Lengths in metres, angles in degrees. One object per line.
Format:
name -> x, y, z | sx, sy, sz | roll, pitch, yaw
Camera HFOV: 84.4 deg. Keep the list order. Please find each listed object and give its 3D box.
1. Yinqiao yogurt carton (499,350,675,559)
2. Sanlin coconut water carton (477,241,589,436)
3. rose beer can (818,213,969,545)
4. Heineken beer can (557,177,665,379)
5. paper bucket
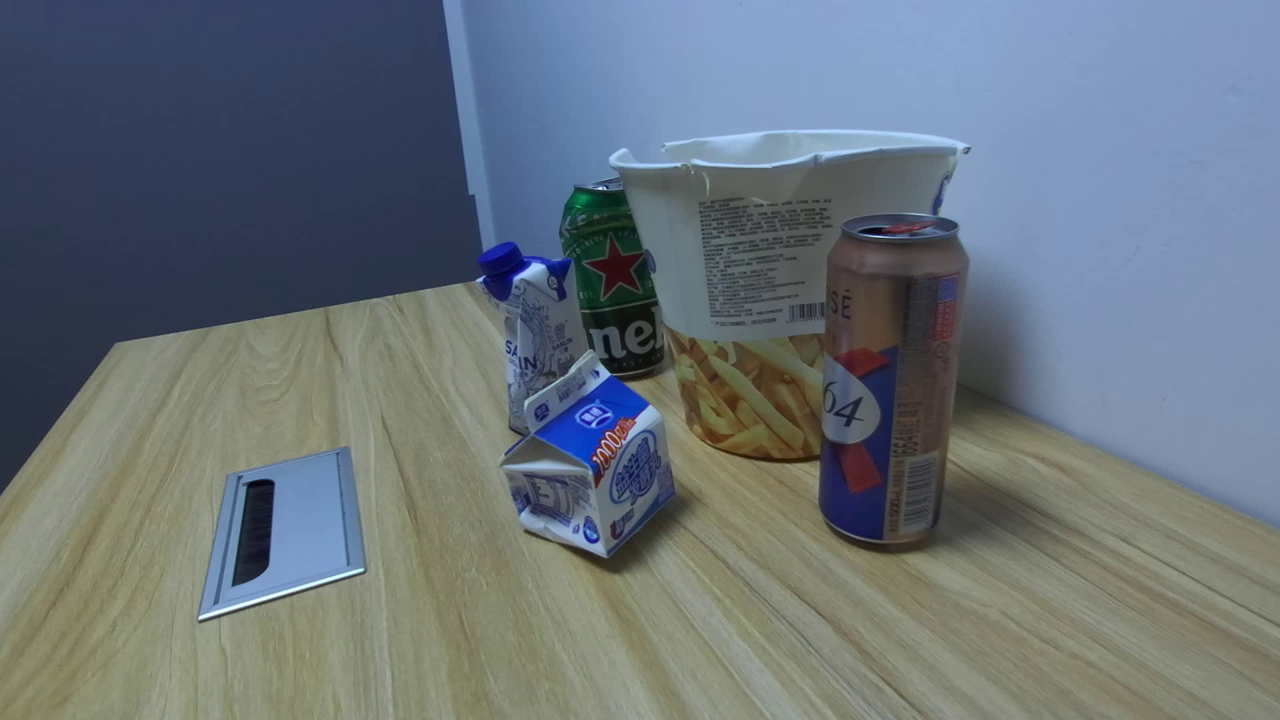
Yinqiao yogurt carton -> -0.036, 0.050, 0.403 | 0.080, 0.097, 0.075 | 1, 22, 33
Sanlin coconut water carton -> -0.072, -0.015, 0.507 | 0.070, 0.144, 0.060 | -23, 26, -38
rose beer can -> 0.130, 0.014, 0.370 | 0.068, 0.169, 0.068 | -4, 24, 2
Heineken beer can -> -0.013, -0.069, 0.596 | 0.077, 0.164, 0.066 | -1, 25, 16
paper bucket -> 0.095, -0.051, 0.491 | 0.203, 0.197, 0.145 | -9, 22, -12
